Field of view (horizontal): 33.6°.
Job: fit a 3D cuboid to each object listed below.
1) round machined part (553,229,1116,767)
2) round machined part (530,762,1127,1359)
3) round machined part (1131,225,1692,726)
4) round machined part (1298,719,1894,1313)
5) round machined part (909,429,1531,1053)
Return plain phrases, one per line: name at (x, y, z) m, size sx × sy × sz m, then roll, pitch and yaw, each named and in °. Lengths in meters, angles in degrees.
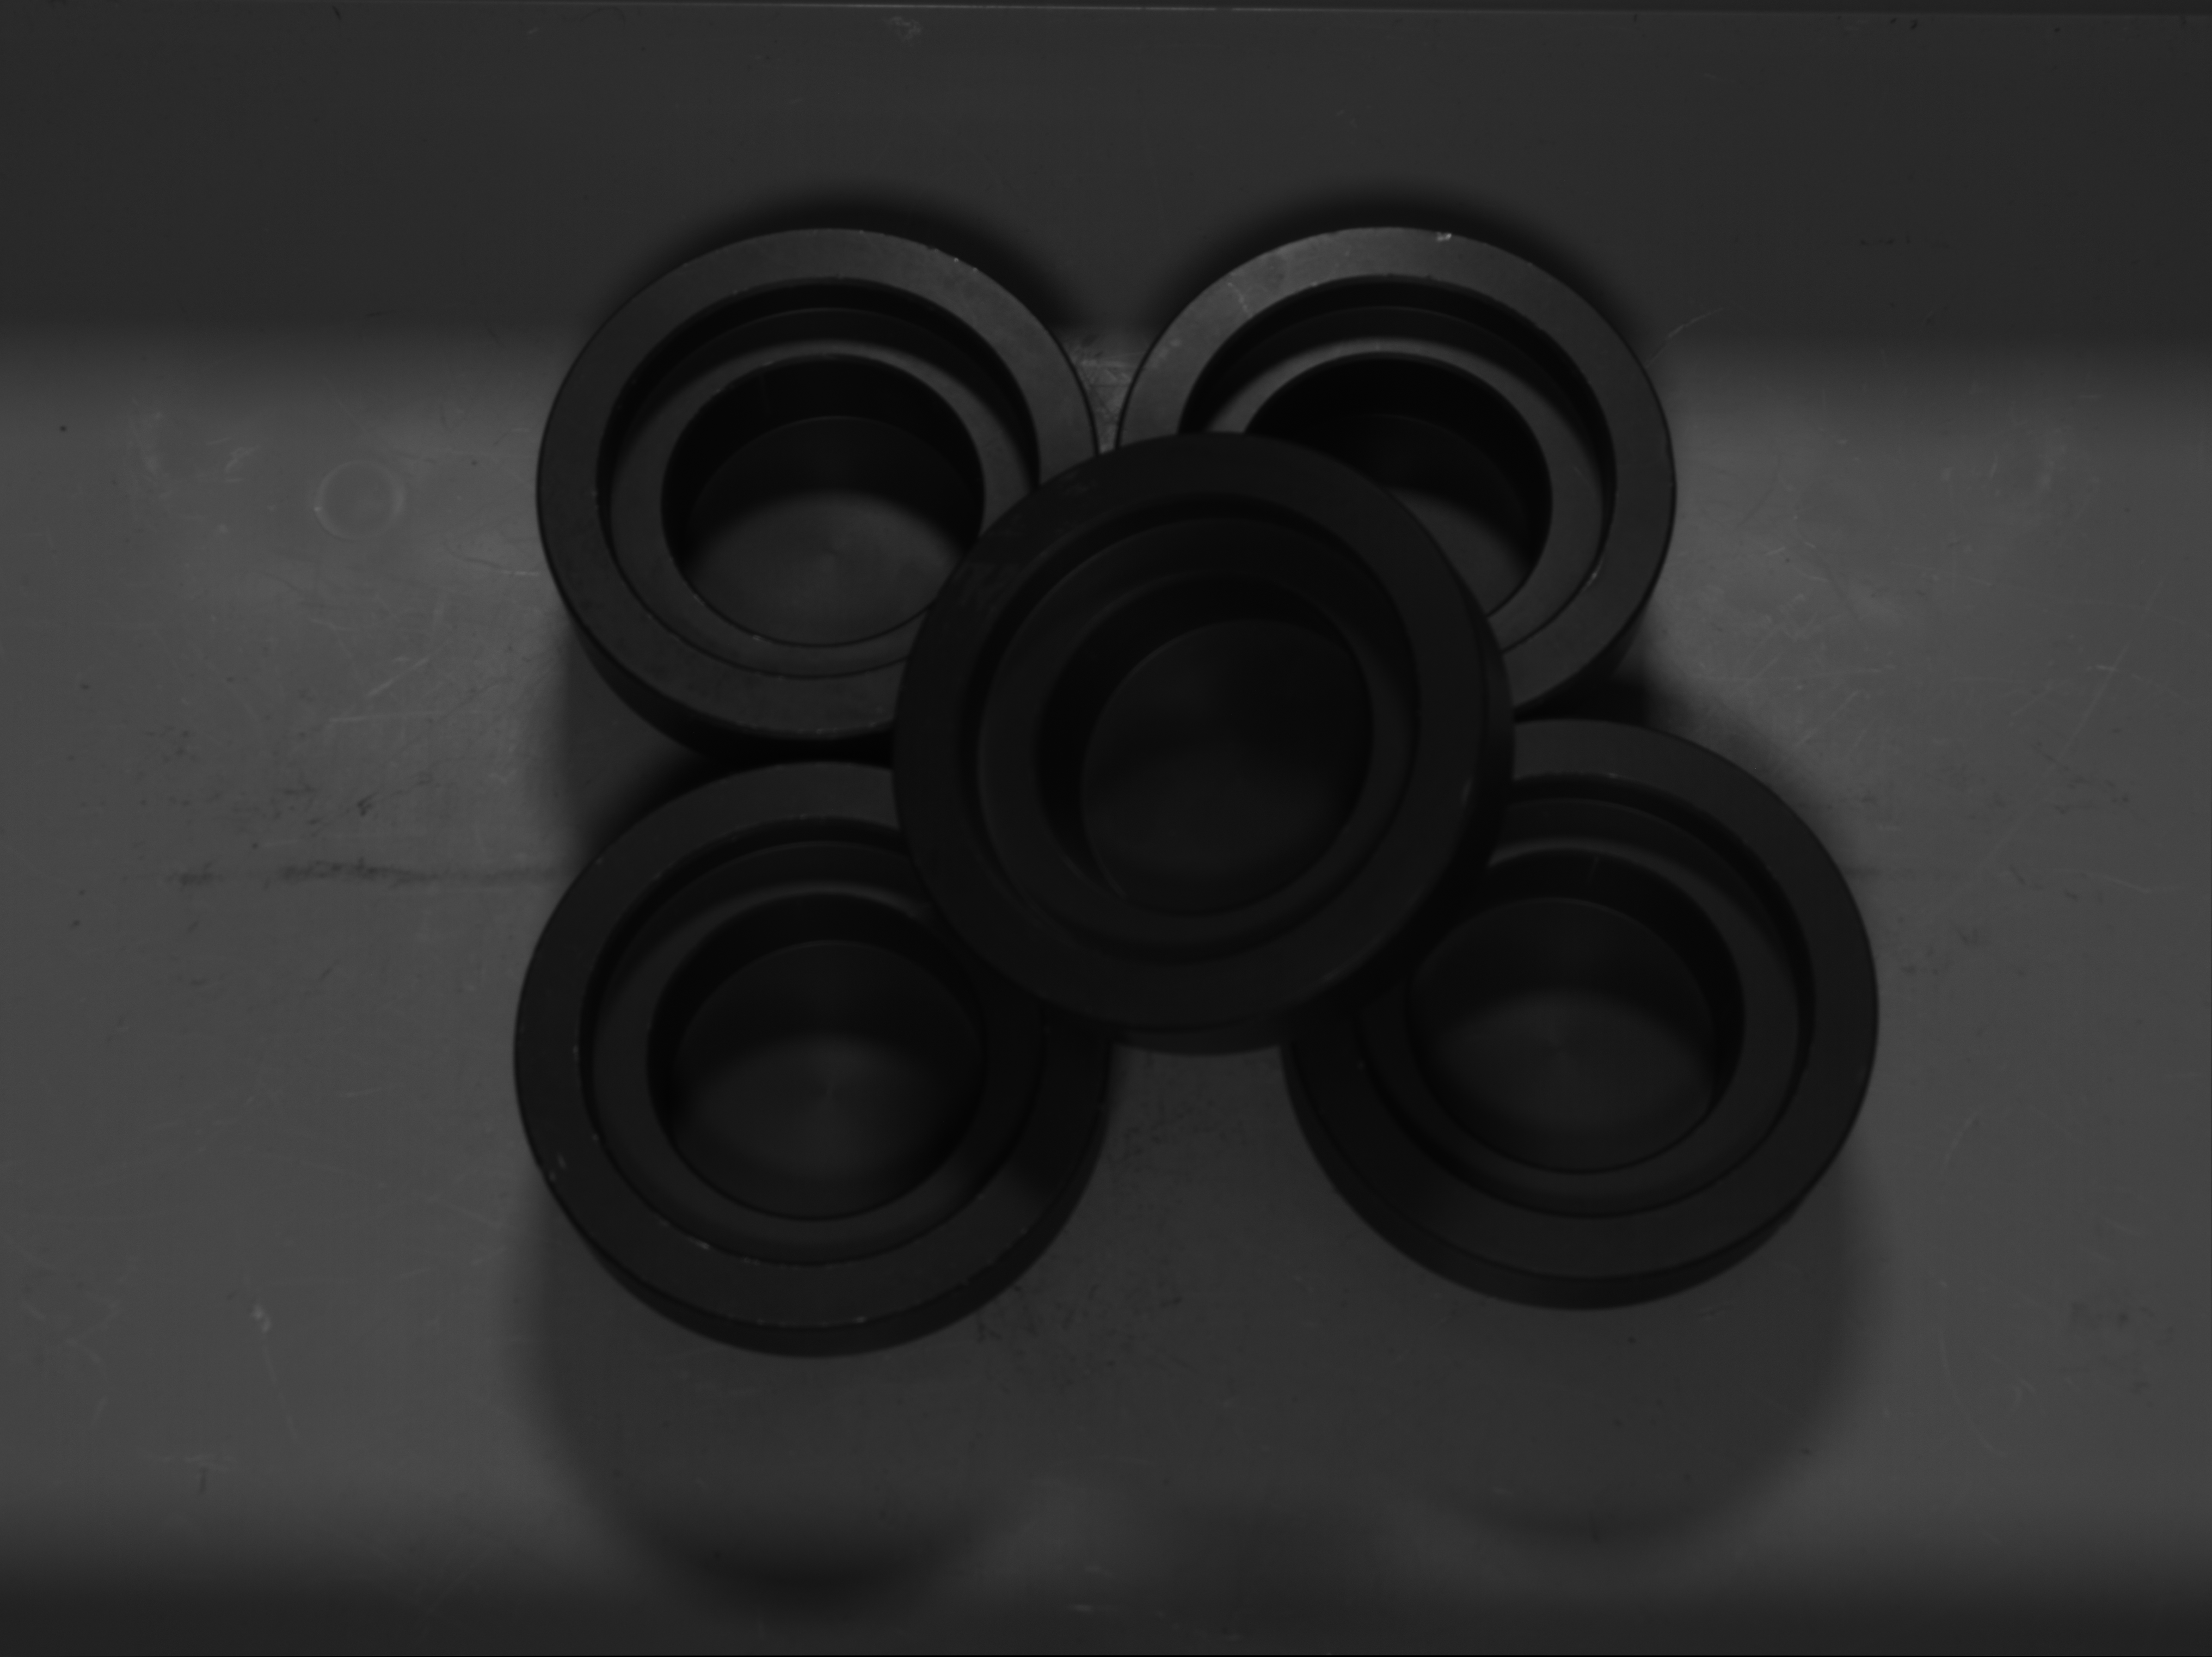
round machined part at (-0.047, -0.054, 0.654) m, size 0.098 × 0.042 × 0.098 m, roll 0°, pitch 70°, yaw 0°
round machined part at (-0.045, 0.042, 0.619) m, size 0.098 × 0.042 × 0.098 m, roll 0°, pitch 70°, yaw 0°
round machined part at (0.053, -0.055, 0.655) m, size 0.098 × 0.042 × 0.098 m, roll 0°, pitch 70°, yaw 0°
round machined part at (0.081, 0.034, 0.622) m, size 0.098 × 0.042 × 0.098 m, roll 0°, pitch 70°, yaw 0°
round machined part at (0.021, -0.012, 0.593) m, size 0.098 × 0.042 × 0.098 m, roll -5°, pitch 74°, yaw 18°
